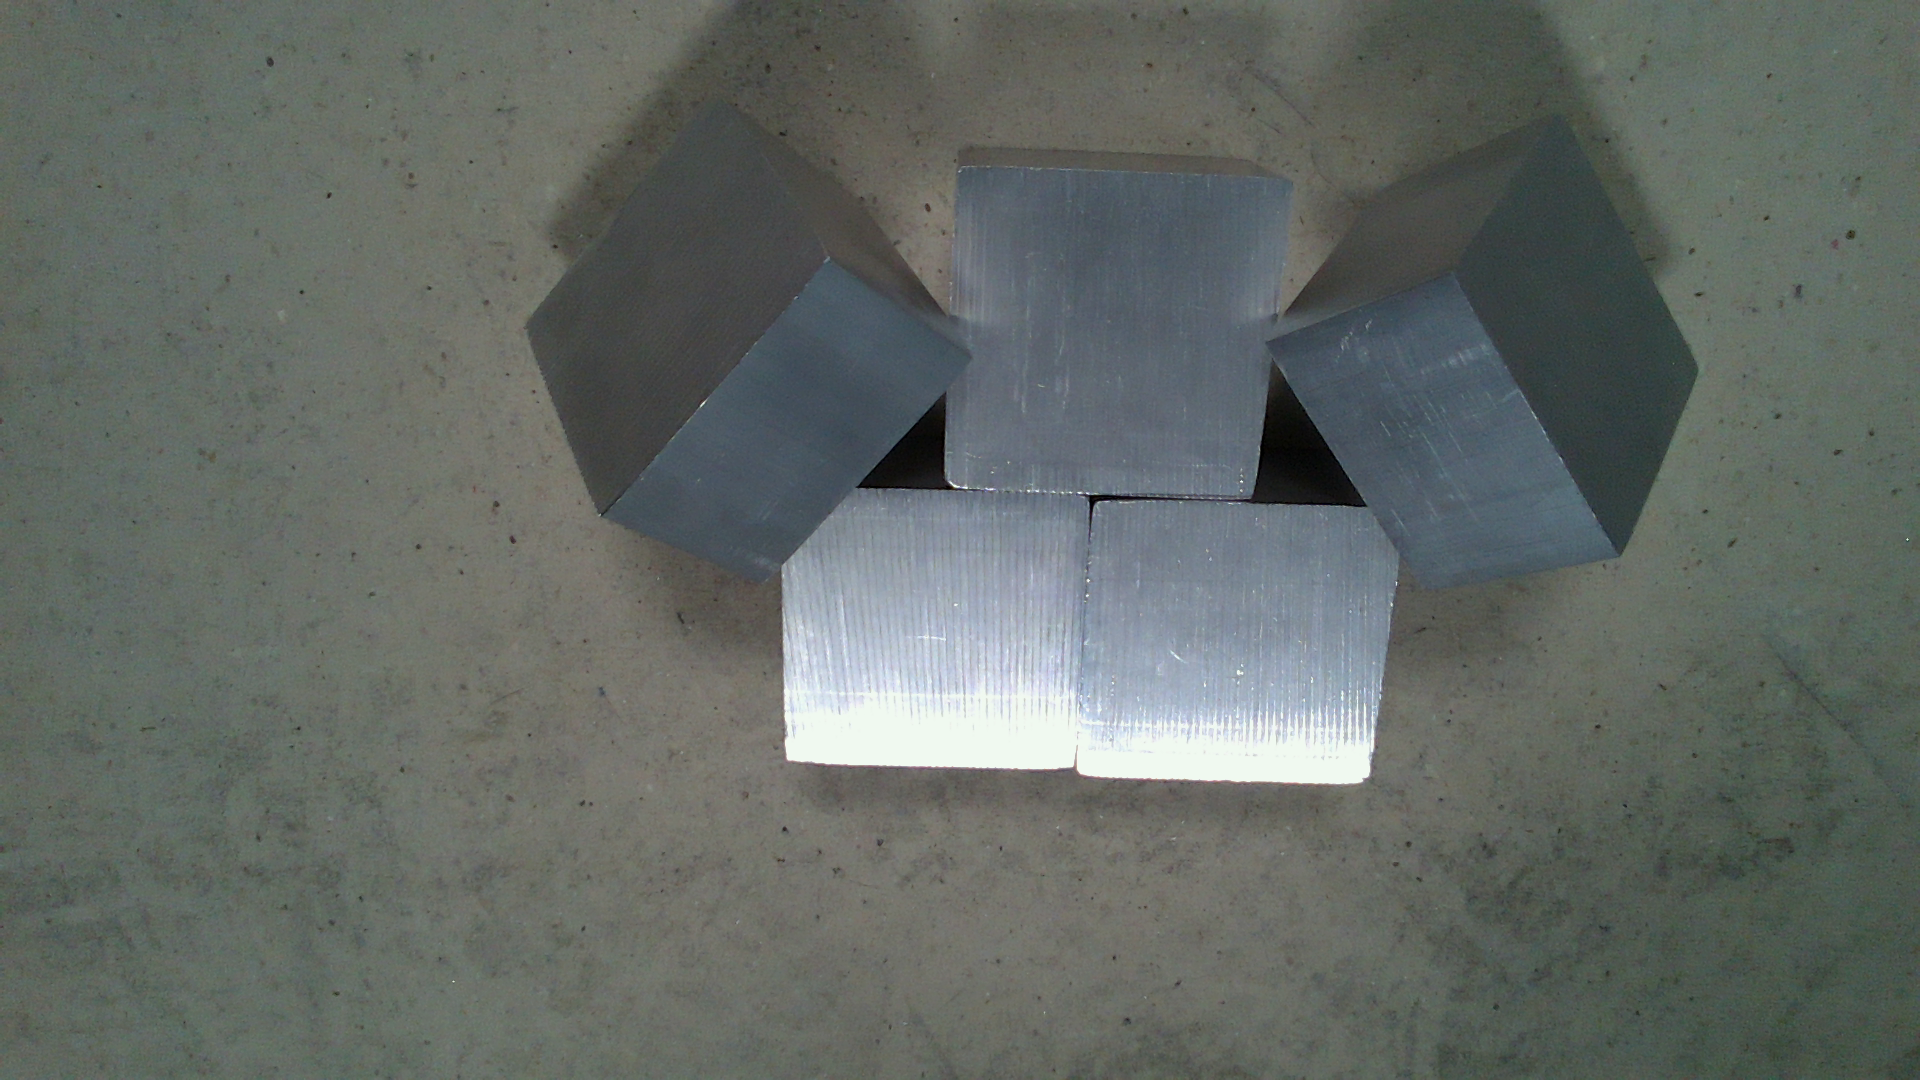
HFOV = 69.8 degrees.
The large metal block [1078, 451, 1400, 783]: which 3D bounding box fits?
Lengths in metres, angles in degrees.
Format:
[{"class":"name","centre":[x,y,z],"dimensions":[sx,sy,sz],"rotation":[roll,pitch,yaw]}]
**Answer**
[{"class":"large metal block","centre":[0.073,0.020,0.386],"dimensions":[0.080,0.050,0.080],"rotation":[1,110,-1]}]

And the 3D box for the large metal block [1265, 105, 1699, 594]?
[{"class":"large metal block","centre":[0.132,-0.046,0.342],"dimensions":[0.050,0.080,0.080],"rotation":[-17,116,50]}]

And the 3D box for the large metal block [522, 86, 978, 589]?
[{"class":"large metal block","centre":[-0.055,-0.049,0.339],"dimensions":[0.080,0.080,0.050],"rotation":[-46,138,15]}]

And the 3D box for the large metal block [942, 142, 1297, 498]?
[{"class":"large metal block","centre":[0.037,-0.059,0.360],"dimensions":[0.080,0.050,0.080],"rotation":[3,110,-1]}]

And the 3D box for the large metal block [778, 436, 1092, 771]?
[{"class":"large metal block","centre":[-0.007,0.016,0.386],"dimensions":[0.080,0.050,0.080],"rotation":[1,110,-1]}]
